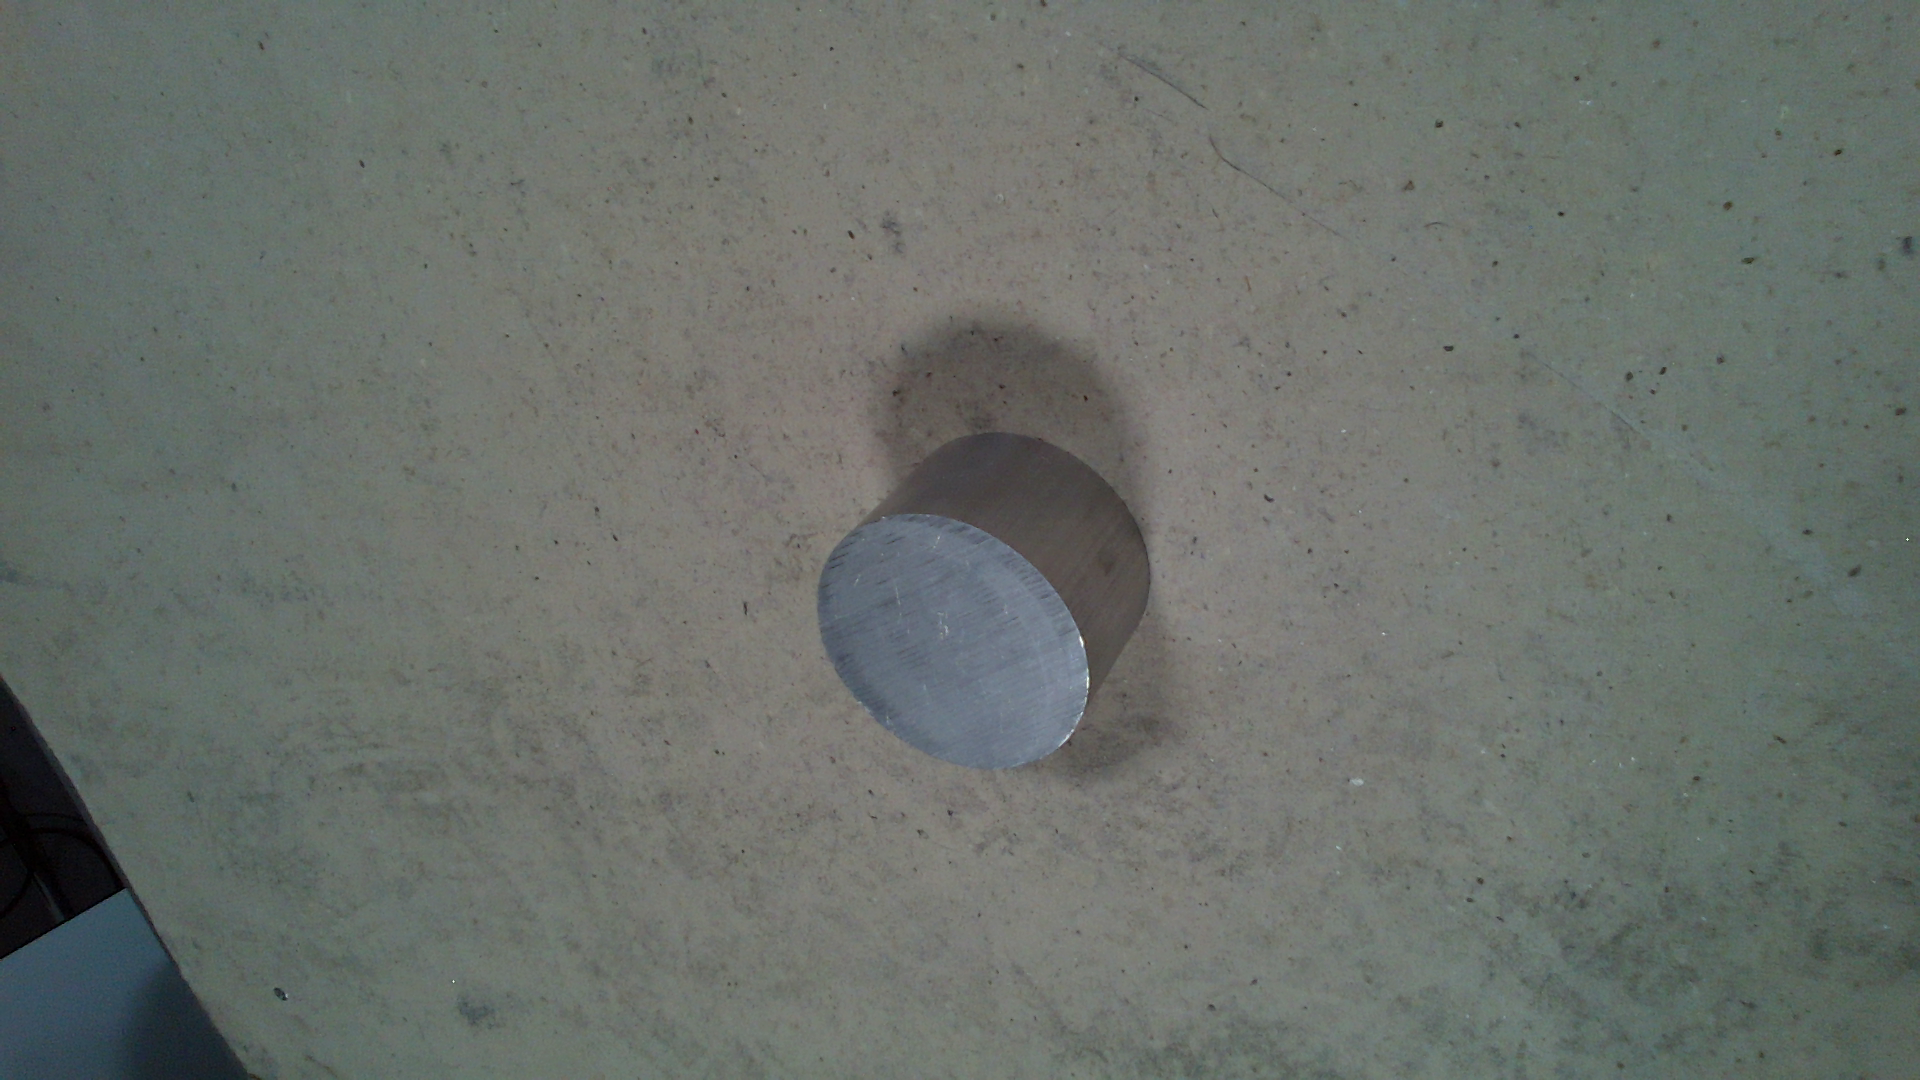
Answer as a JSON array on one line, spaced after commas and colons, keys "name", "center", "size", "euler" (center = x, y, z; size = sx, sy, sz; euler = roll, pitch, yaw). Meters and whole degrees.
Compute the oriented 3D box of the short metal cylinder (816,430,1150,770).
[{"name": "short metal cylinder", "center": [0.007, 0.016, 0.383], "size": [0.080, 0.050, 0.080], "euler": [13, 124, 21]}]
